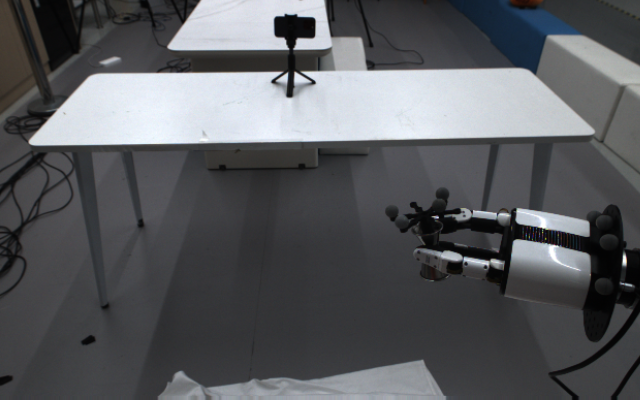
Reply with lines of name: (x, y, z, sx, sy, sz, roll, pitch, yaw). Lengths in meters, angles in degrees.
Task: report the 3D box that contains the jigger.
jigger: (0.145, 0.064, 0.624, 0.043, 0.071, 0.043, -14, 21, 6)
